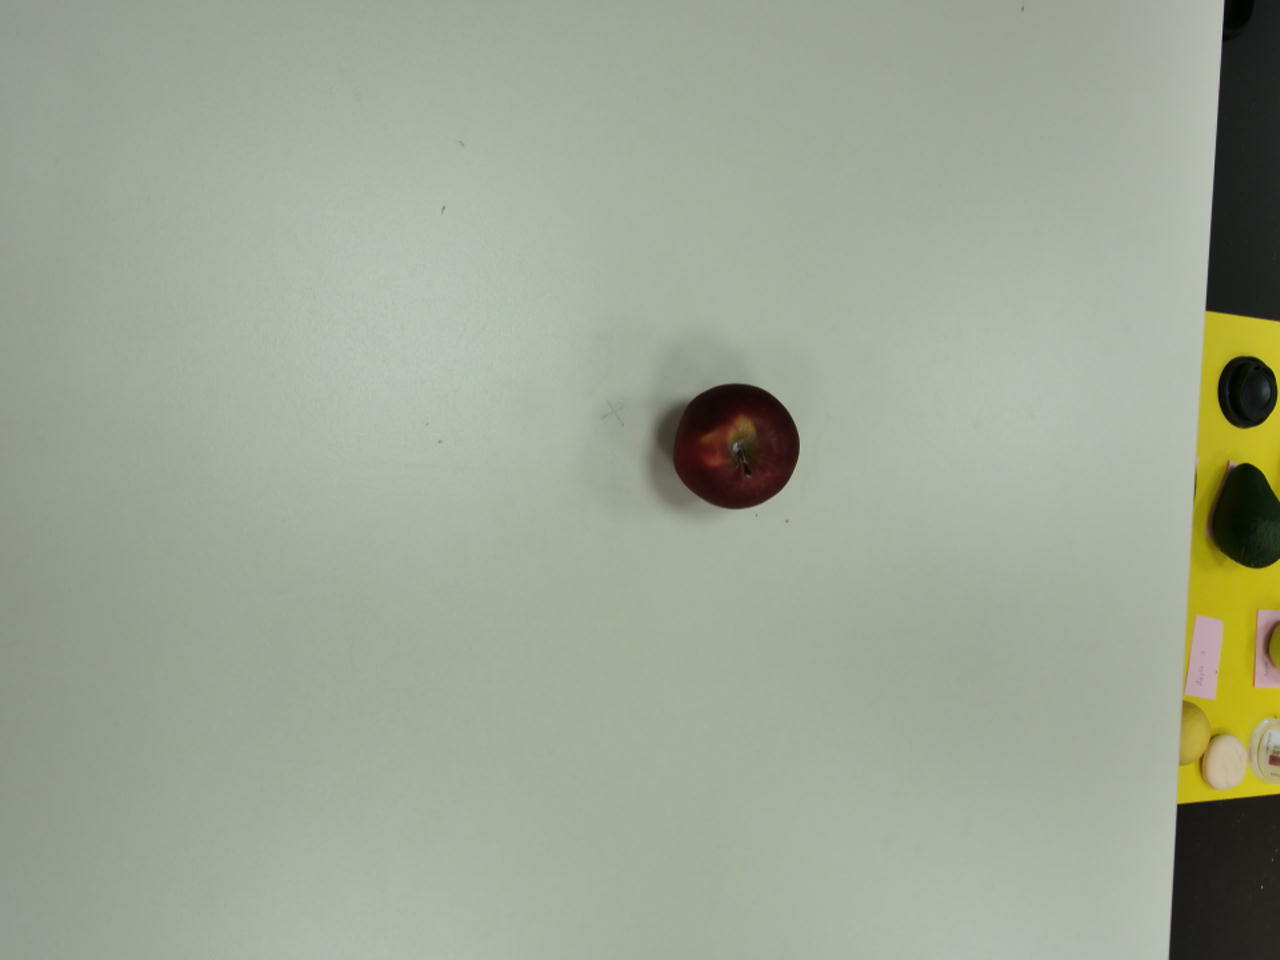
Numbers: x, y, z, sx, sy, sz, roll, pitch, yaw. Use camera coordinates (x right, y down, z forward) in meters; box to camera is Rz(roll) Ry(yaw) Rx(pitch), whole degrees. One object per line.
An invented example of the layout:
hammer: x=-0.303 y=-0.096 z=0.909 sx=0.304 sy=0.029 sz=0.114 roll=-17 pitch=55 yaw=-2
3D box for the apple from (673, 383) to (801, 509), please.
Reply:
apple: x=0.052 y=-0.018 z=0.552 sx=0.070 sy=0.072 sz=0.070 roll=0 pitch=90 yaw=-22
